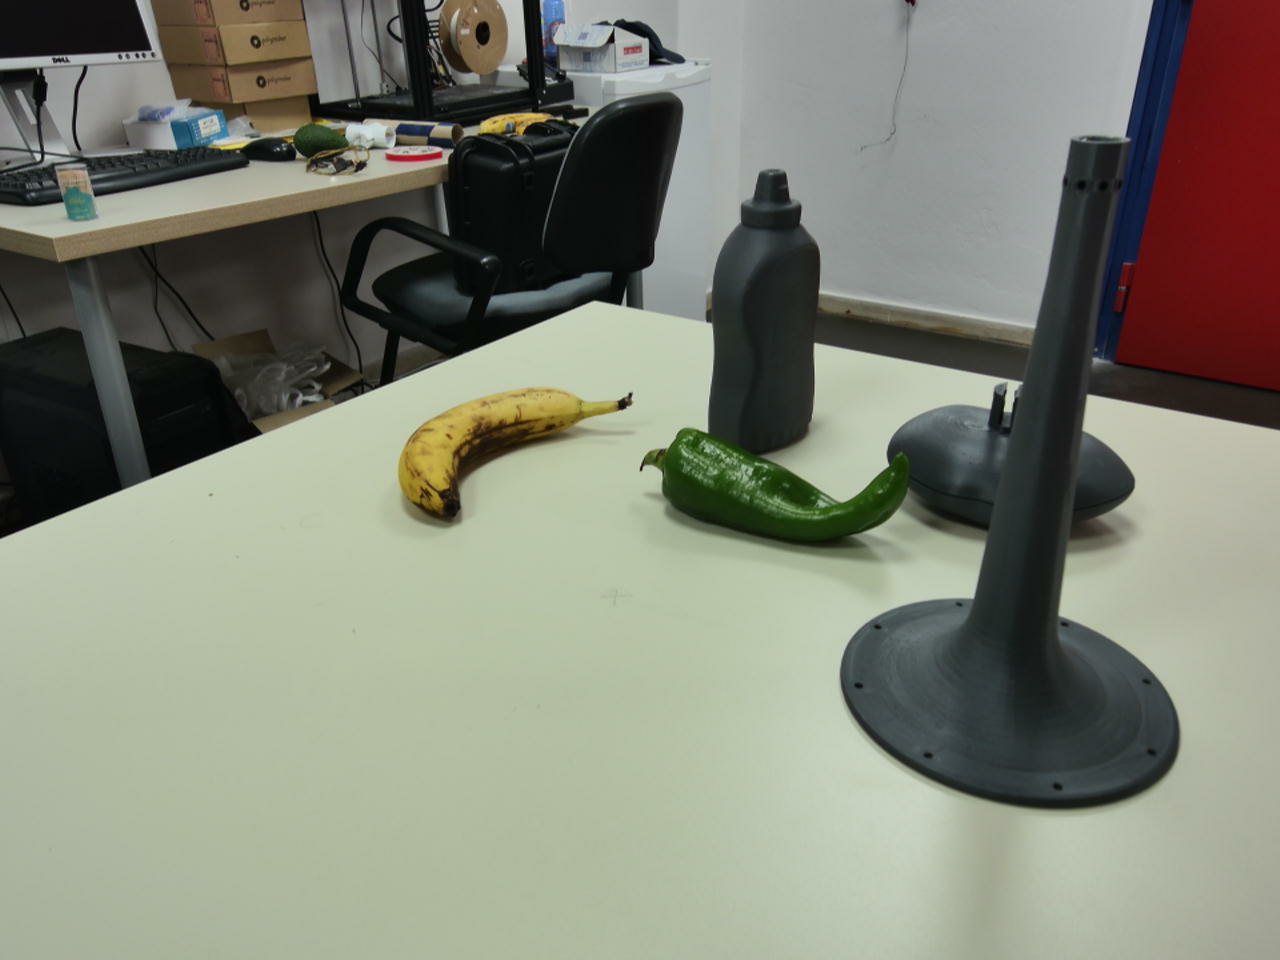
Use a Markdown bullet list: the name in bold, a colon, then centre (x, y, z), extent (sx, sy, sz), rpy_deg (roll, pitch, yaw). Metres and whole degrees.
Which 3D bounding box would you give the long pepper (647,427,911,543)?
- **long pepper**: centre (0.077, -0.001, 0.618), extent (0.175, 0.065, 0.058), rpy_deg (15, 29, 31)
